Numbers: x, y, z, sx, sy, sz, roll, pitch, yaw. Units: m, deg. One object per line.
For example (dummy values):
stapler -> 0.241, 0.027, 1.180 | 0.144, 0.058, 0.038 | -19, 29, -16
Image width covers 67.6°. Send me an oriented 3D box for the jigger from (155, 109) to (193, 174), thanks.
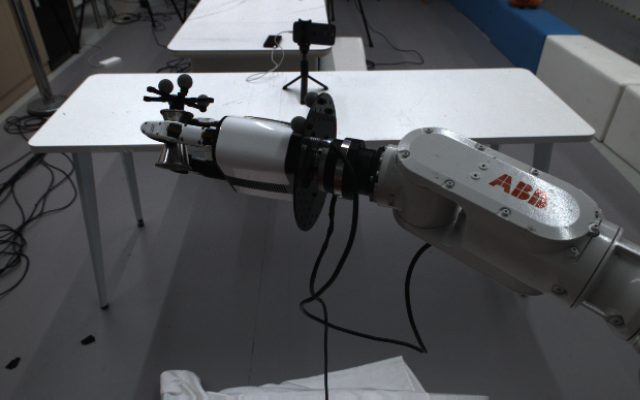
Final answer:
jigger -> -0.178, -0.073, 0.598 | 0.043, 0.071, 0.043 | 2, -6, 0
